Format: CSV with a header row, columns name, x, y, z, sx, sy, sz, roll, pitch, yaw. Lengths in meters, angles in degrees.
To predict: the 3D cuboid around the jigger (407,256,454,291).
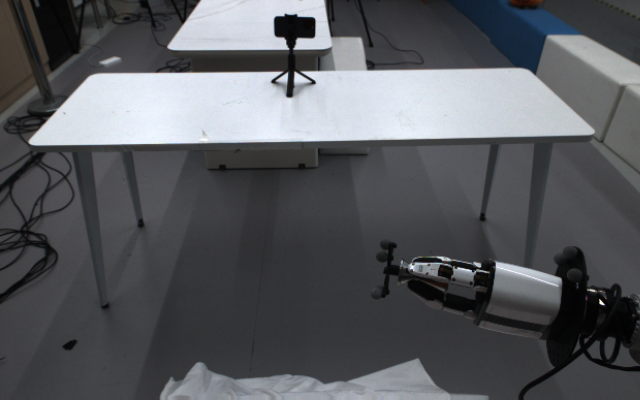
name,x,y,z,sx,sy,sz,roll,pitch,yaw
jigger,0.154,0.103,0.686,0.071,0.043,0.043,8,35,14
